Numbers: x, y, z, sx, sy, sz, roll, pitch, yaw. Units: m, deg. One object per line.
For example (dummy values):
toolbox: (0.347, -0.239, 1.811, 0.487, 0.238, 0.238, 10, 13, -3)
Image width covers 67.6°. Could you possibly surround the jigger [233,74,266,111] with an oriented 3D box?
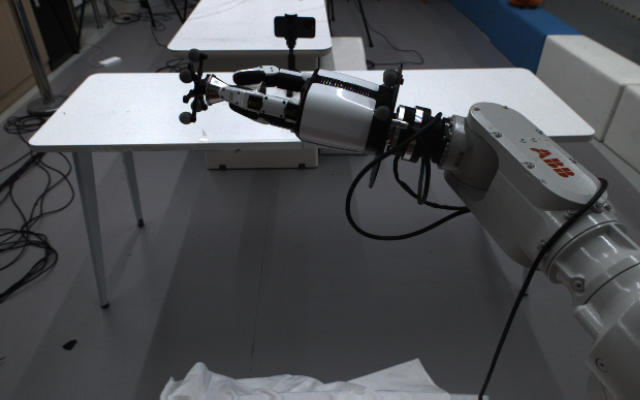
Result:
jigger: (-0.101, -0.138, 0.624, 0.071, 0.043, 0.043, 10, 35, 3)
